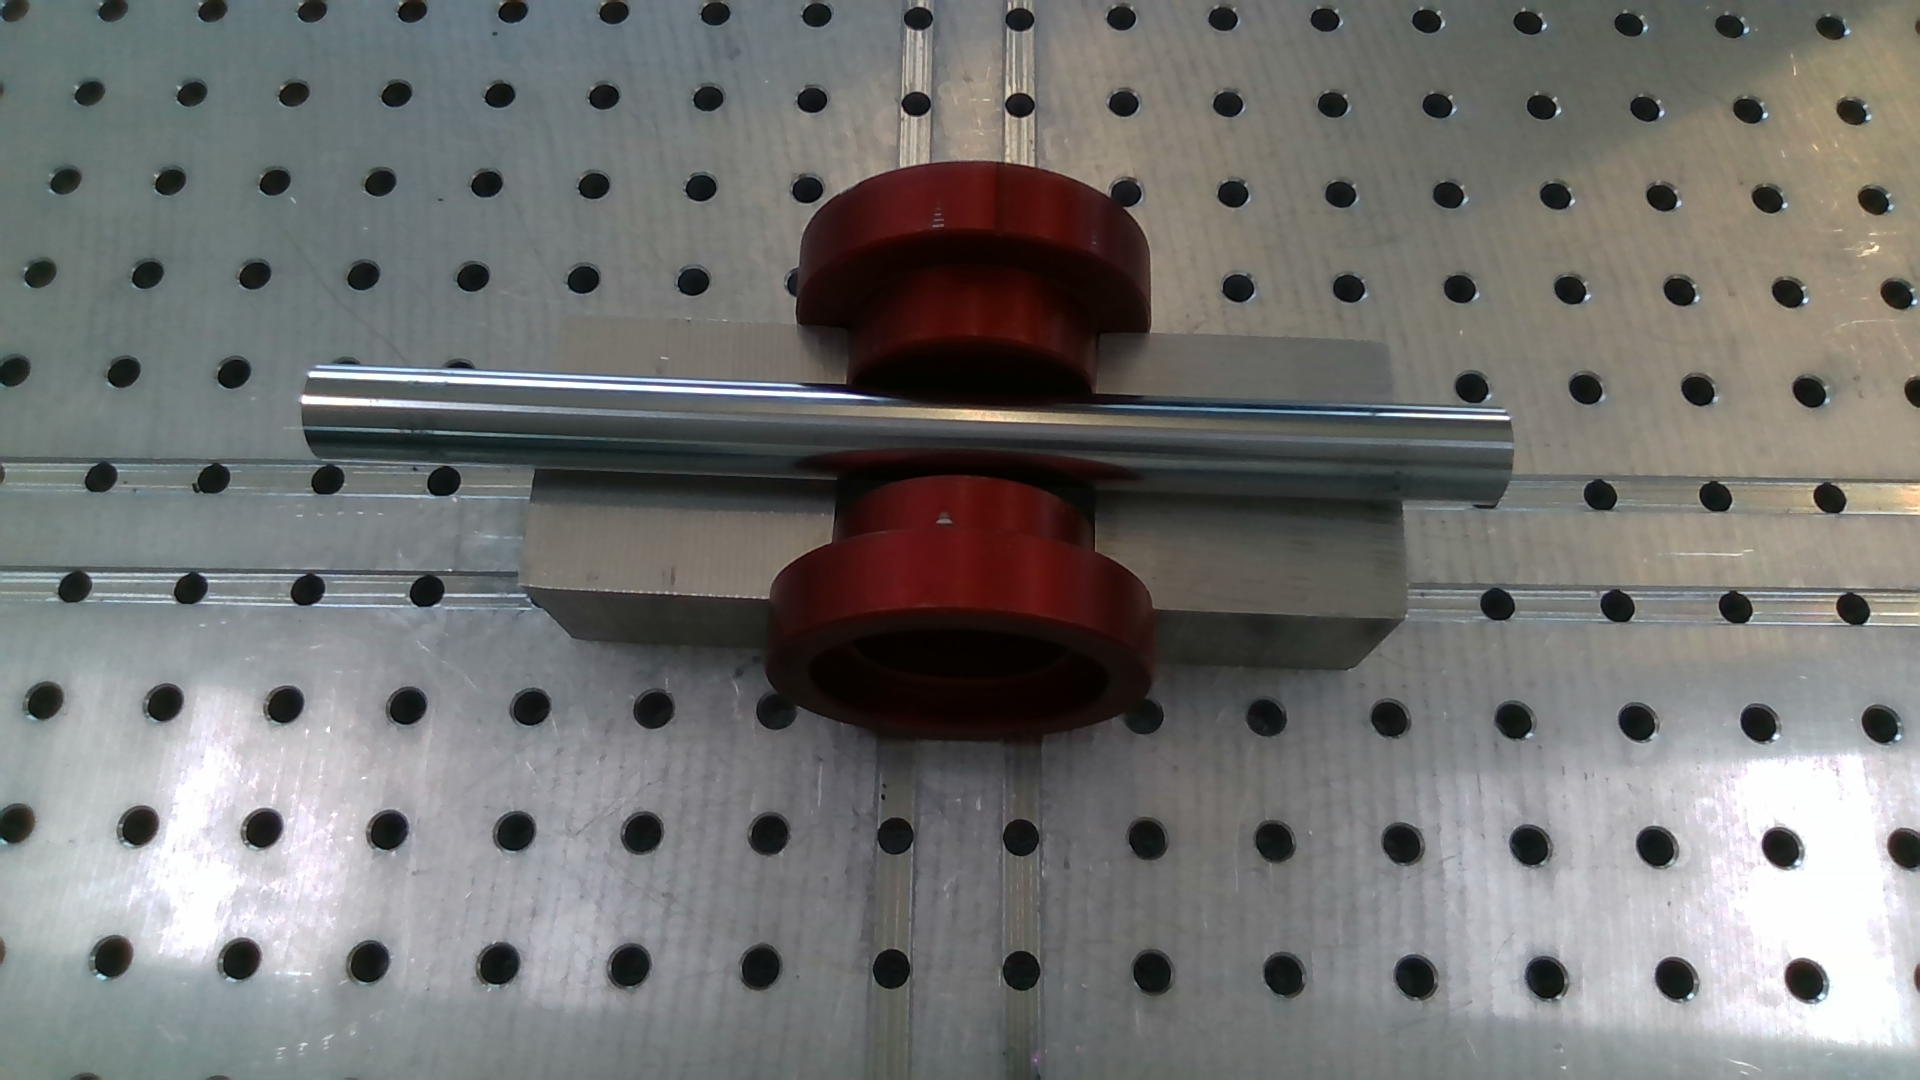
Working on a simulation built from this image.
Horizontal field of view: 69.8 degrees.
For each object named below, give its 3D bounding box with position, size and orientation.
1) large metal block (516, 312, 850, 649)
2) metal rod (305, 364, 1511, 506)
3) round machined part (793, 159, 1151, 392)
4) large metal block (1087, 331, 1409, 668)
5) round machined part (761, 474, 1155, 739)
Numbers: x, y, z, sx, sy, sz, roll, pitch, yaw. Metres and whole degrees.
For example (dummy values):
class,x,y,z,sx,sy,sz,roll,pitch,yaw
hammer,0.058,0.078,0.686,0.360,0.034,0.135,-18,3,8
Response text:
class,x,y,z,sx,sy,sz,roll,pitch,yaw
large metal block,-0.072,-0.015,0.390,0.080,0.050,0.080,3,70,1
metal rod,-0.014,-0.027,0.354,0.300,0.025,0.025,2,70,1
round machined part,0.003,-0.058,0.379,0.098,0.098,0.042,2,70,1
large metal block,0.076,-0.010,0.388,0.080,0.050,0.080,2,70,1
round machined part,0.000,0.017,0.353,0.098,0.098,0.042,2,65,1
